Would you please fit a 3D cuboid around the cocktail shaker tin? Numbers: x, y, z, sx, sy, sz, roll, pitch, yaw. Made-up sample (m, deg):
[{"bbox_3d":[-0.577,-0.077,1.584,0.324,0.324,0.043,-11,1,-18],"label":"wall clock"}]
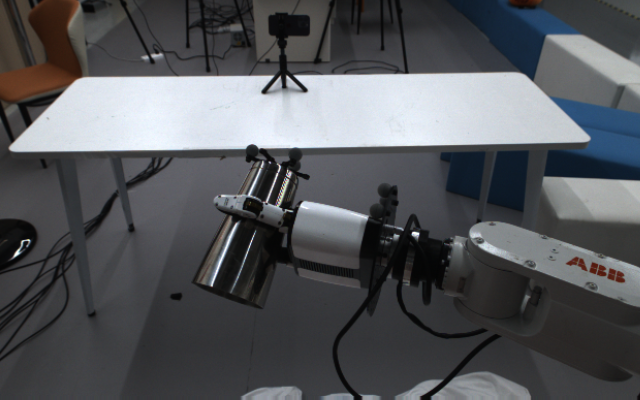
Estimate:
[{"bbox_3d":[-0.085,0.040,0.608,0.093,0.093,0.170,13,70,16],"label":"cocktail shaker tin"}]
